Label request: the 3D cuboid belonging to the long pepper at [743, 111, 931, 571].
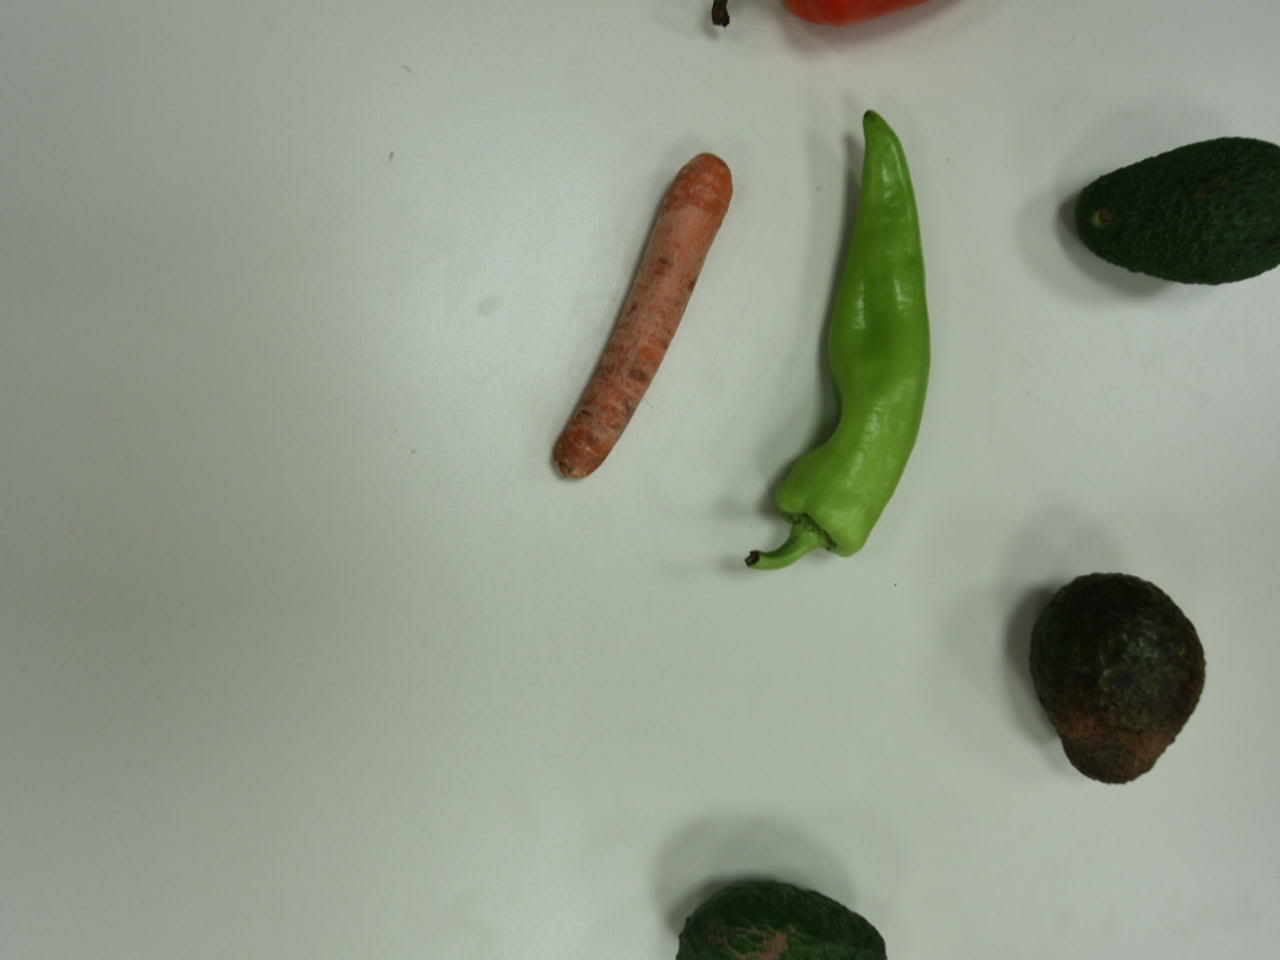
[{"bbox_3d":[0.099,-0.054,0.434,0.065,0.045,0.204,17,87,-11],"label":"long pepper"}]
